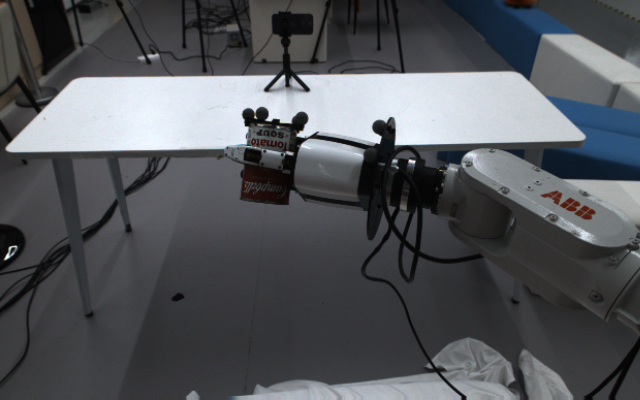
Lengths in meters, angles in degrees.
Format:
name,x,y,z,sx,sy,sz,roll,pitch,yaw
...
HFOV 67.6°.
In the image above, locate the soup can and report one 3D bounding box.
name,x,y,z,sx,sy,sz,roll,pitch,yaw
soup can,-0.068,-0.047,0.652,0.067,0.101,0.067,7,3,0
